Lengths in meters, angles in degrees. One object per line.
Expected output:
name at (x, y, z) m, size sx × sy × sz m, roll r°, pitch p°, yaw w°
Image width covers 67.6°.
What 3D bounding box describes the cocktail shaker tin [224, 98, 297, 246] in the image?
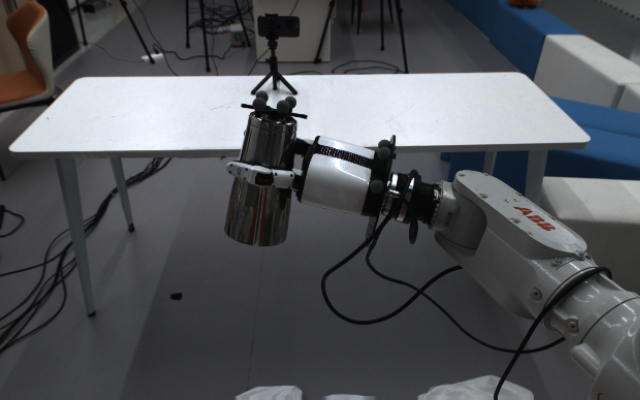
cocktail shaker tin at (-0.077, -0.032, 0.675) m, size 0.093 × 0.170 × 0.093 m, roll 10°, pitch 19°, yaw -4°
